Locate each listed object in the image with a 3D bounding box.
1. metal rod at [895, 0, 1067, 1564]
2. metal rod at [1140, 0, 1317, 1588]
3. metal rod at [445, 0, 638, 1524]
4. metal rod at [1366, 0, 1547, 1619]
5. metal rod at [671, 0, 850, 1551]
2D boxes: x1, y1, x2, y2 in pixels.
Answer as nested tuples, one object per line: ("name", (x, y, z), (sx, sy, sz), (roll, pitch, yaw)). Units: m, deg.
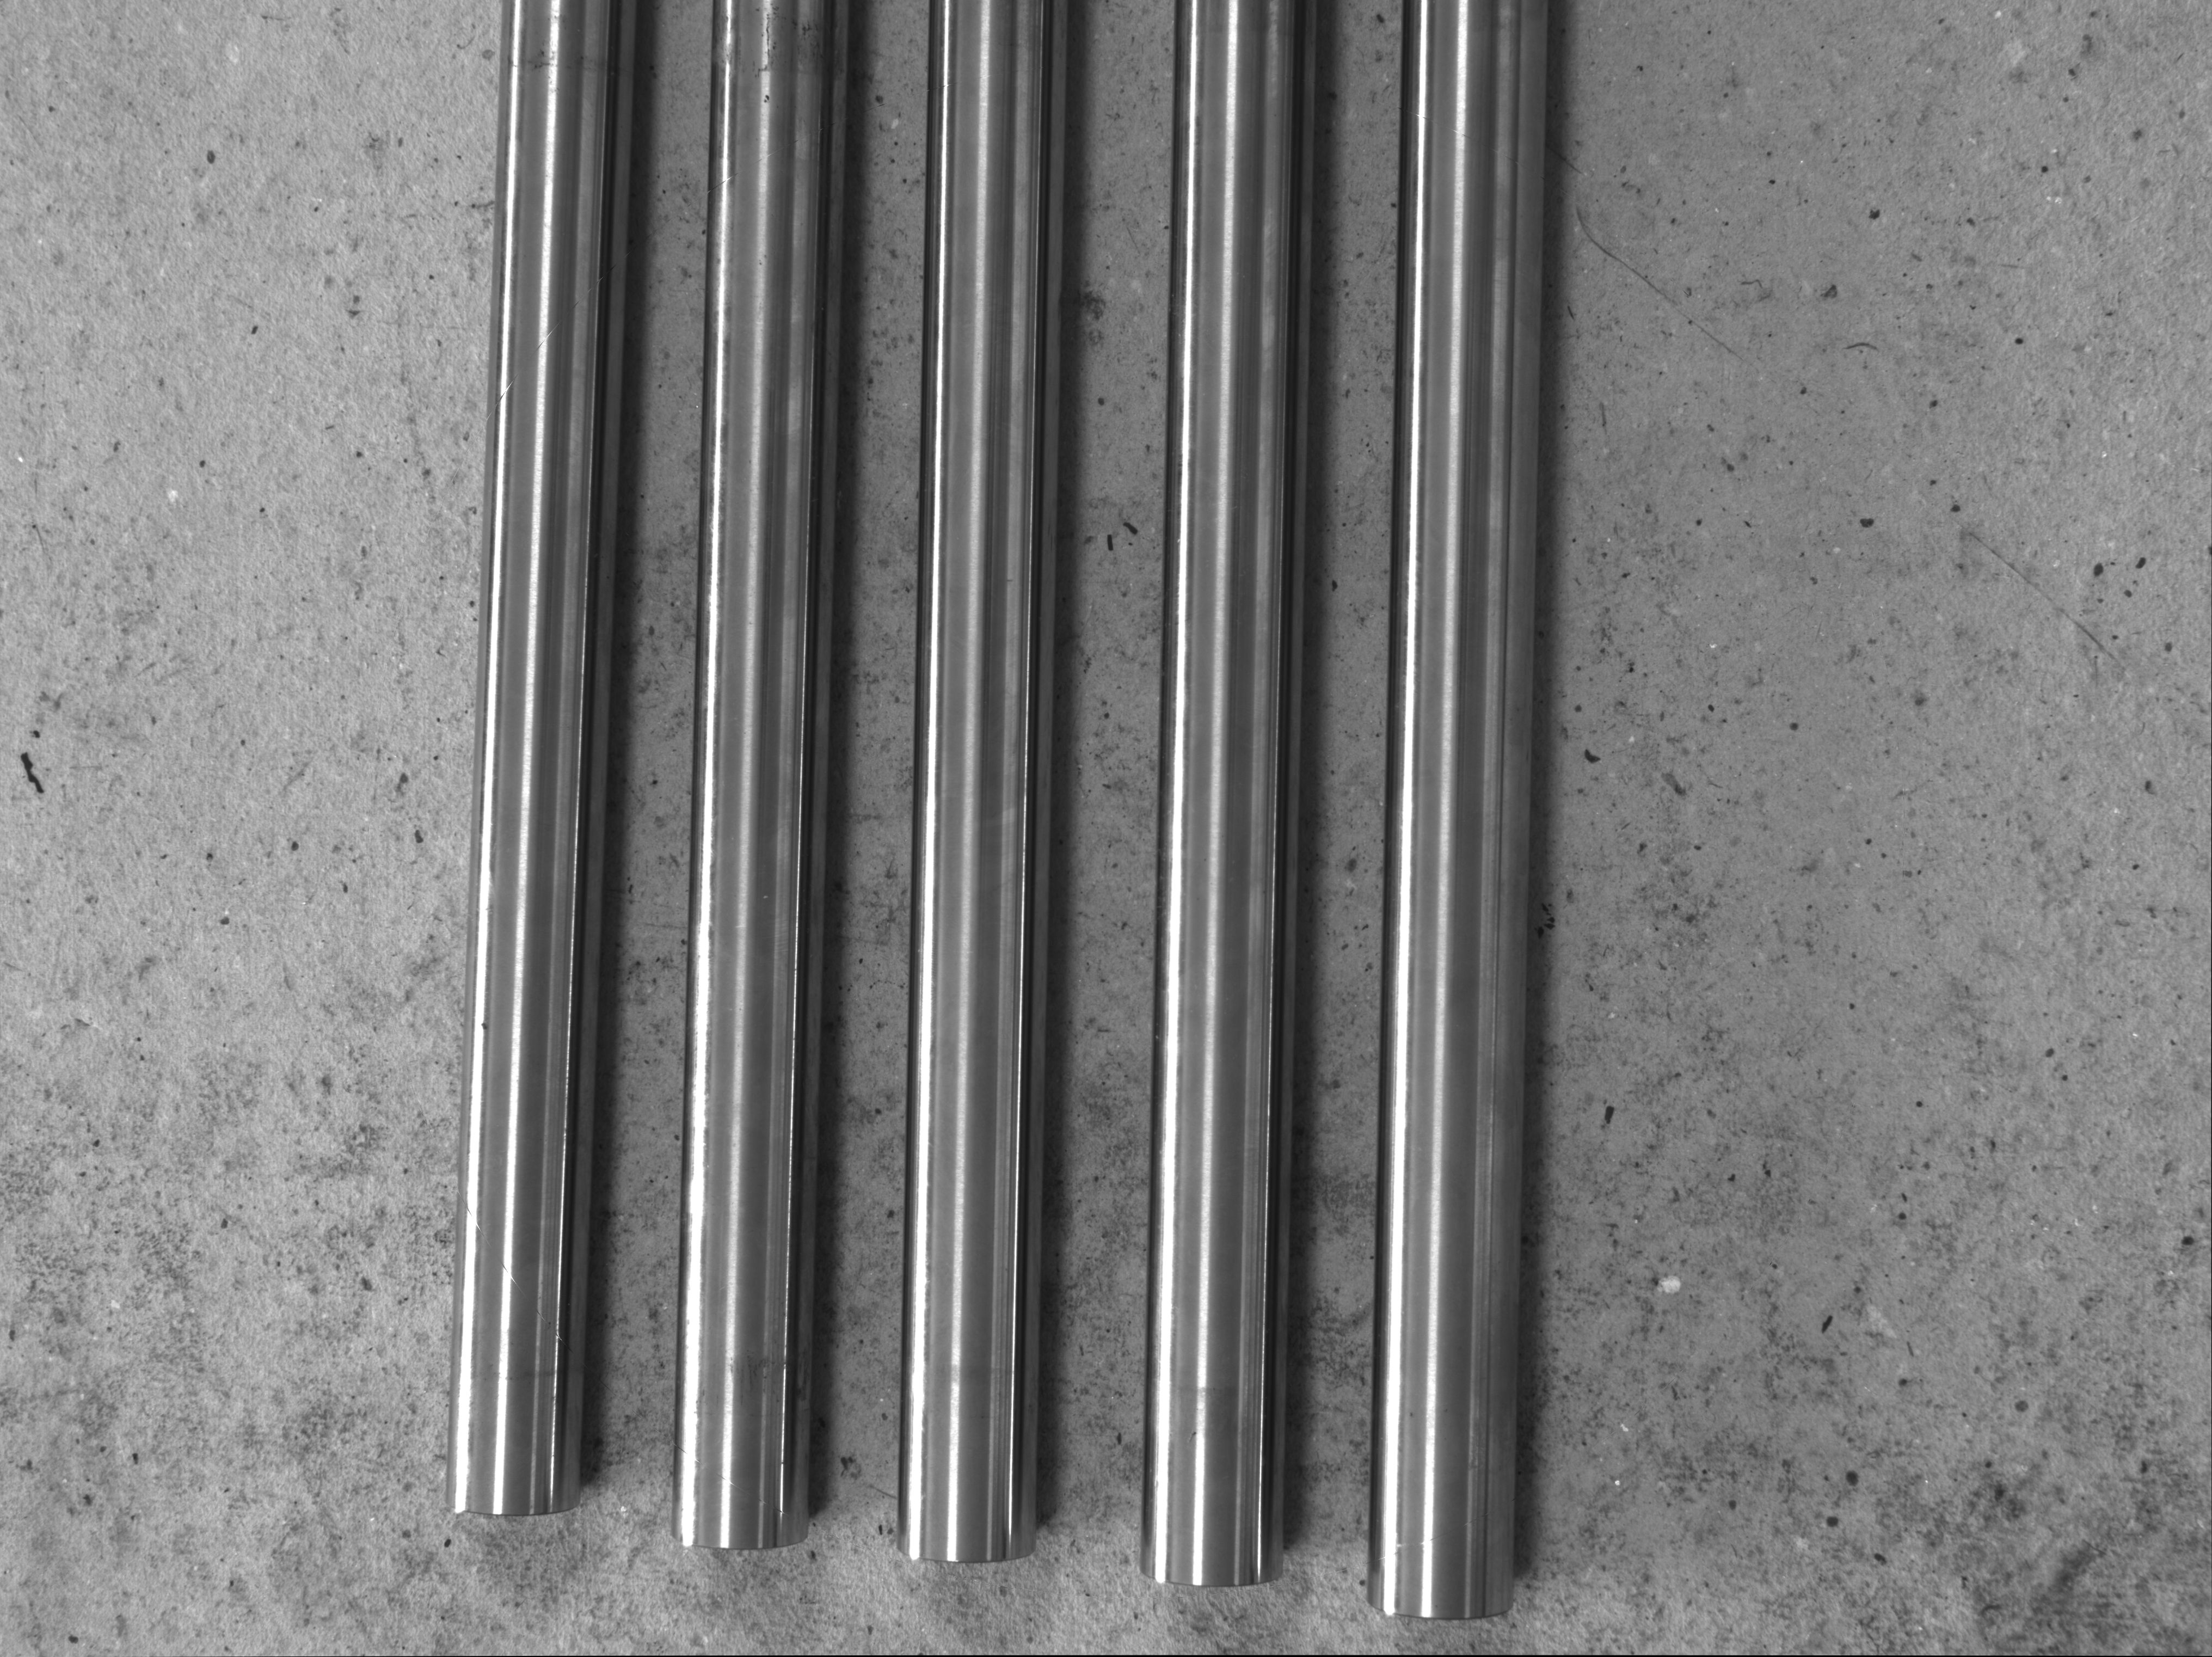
("metal rod", (-0.022, -0.021, 0.654), (0.025, 0.025, 0.300), (1, 90, 20))
("metal rod", (0.022, -0.020, 0.638), (0.025, 0.025, 0.300), (1, 90, 20))
("metal rod", (-0.105, -0.023, 0.683), (0.025, 0.025, 0.300), (2, 91, 20))
("metal rod", (0.060, -0.018, 0.624), (0.025, 0.025, 0.300), (1, 90, 20))
("metal rod", (-0.063, -0.020, 0.669), (0.025, 0.025, 0.300), (2, 90, 20))
